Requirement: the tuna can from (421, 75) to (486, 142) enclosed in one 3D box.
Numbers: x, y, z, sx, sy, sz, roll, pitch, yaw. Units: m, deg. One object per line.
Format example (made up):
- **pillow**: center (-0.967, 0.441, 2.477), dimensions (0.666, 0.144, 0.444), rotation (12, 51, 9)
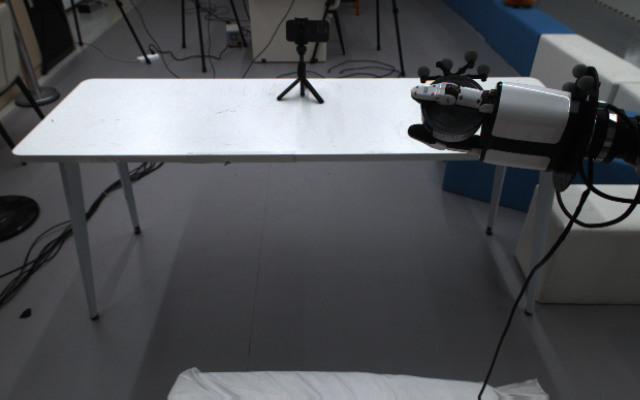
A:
- **tuna can**: center (0.180, -0.124, 0.656), dimensions (0.085, 0.034, 0.085), rotation (-3, 73, 11)
